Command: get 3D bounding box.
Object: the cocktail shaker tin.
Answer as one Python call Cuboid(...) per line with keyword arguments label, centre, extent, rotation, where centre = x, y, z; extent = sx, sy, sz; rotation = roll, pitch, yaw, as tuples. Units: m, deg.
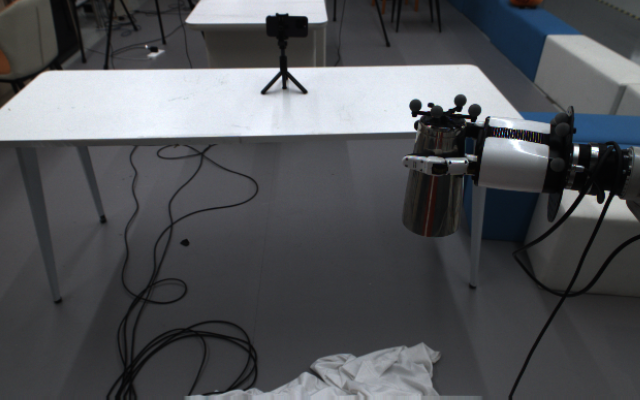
Cuboid(label="cocktail shaker tin", centre=(0.179, -0.044, 0.728), extent=(0.093, 0.170, 0.093), rotation=(-1, 32, 1))
